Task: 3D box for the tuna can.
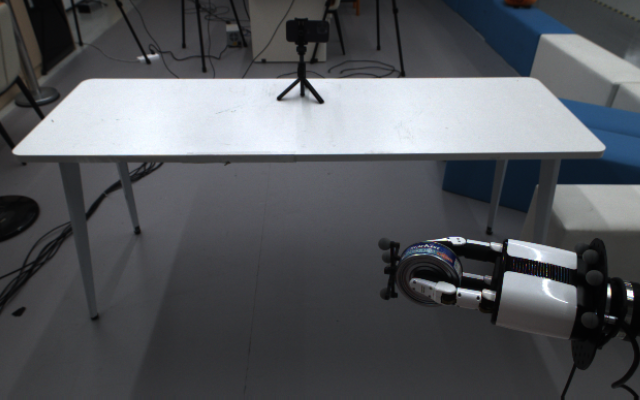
[{"bbox_3d":[0.146,0.094,0.646,0.085,0.085,0.034,12,27,14],"label":"tuna can"}]
